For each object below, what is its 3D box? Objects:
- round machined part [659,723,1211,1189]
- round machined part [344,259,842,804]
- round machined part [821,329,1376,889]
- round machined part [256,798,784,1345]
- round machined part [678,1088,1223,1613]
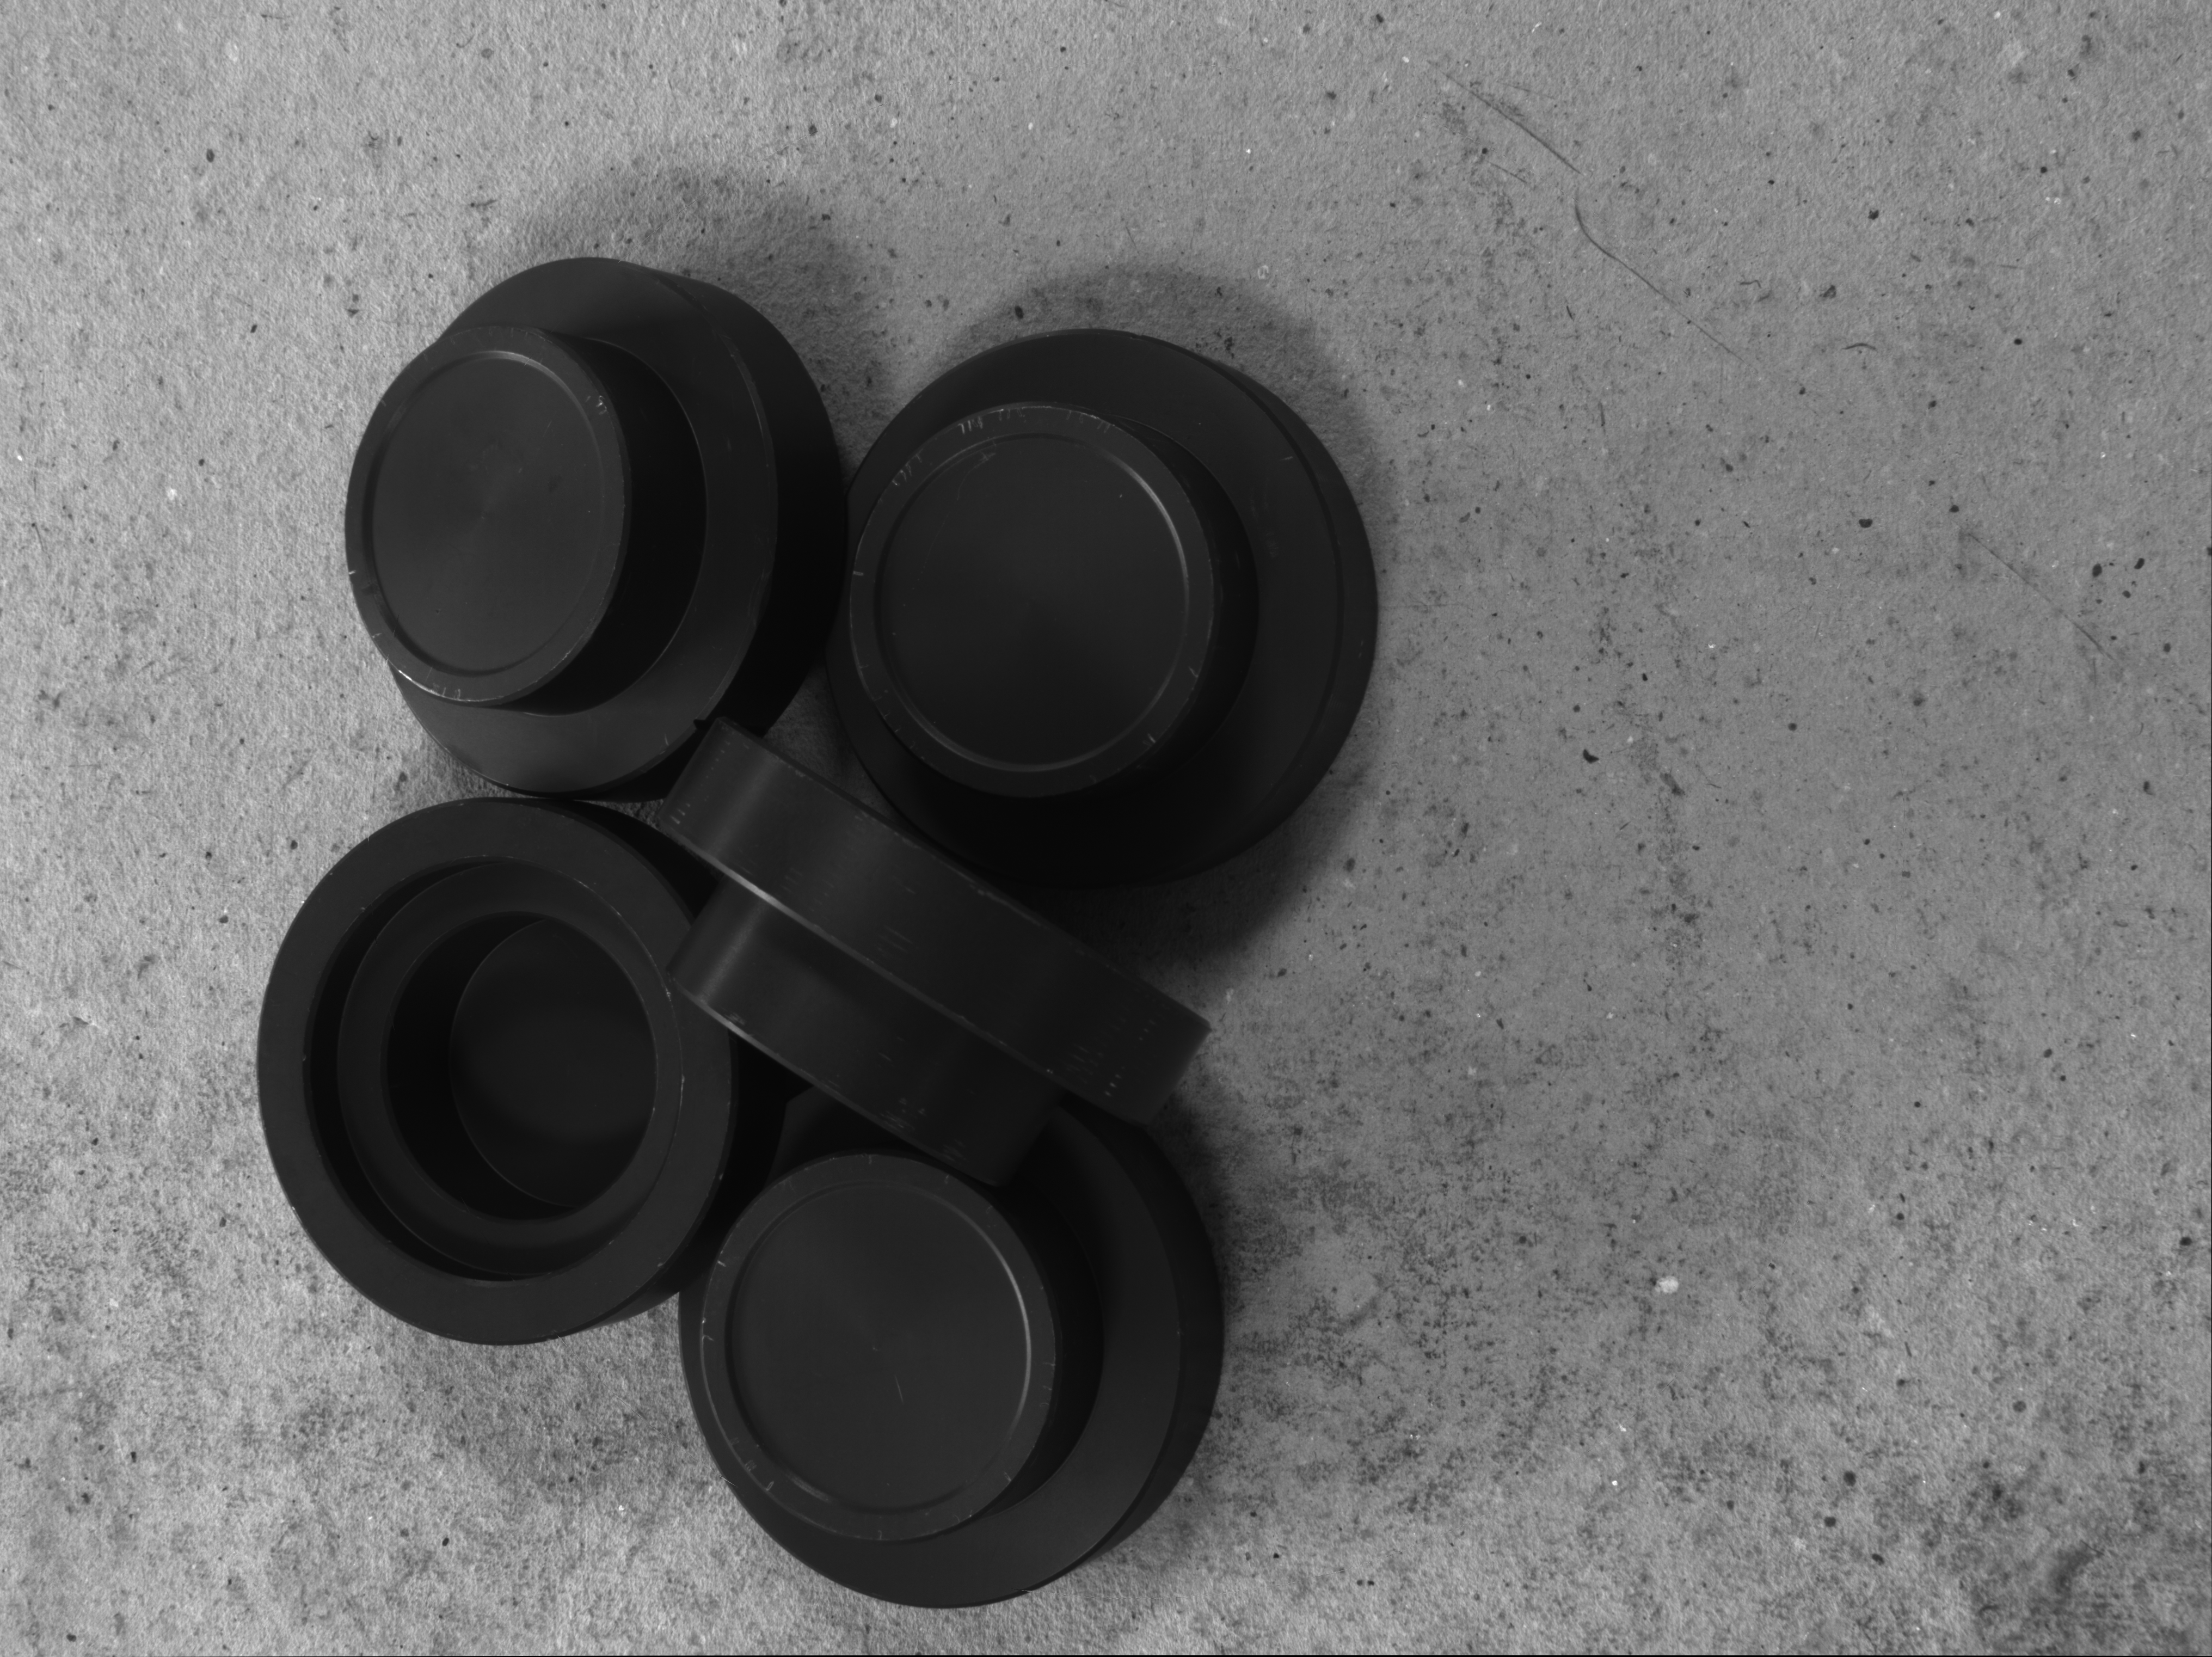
[{"bbox_3d":[-0.034,0.025,0.617,0.098,0.098,0.042,31,87,17],"label":"round machined part"},{"bbox_3d":[-0.099,-0.054,0.662,0.098,0.042,0.098,-2,87,34],"label":"round machined part"},{"bbox_3d":[-0.006,-0.038,0.639,0.098,0.042,0.098,0,89,19],"label":"round machined part"},{"bbox_3d":[-0.103,0.043,0.675,0.098,0.042,0.098,0,91,20],"label":"round machined part"},{"bbox_3d":[-0.032,0.090,0.649,0.098,0.042,0.098,-1,88,19],"label":"round machined part"}]
